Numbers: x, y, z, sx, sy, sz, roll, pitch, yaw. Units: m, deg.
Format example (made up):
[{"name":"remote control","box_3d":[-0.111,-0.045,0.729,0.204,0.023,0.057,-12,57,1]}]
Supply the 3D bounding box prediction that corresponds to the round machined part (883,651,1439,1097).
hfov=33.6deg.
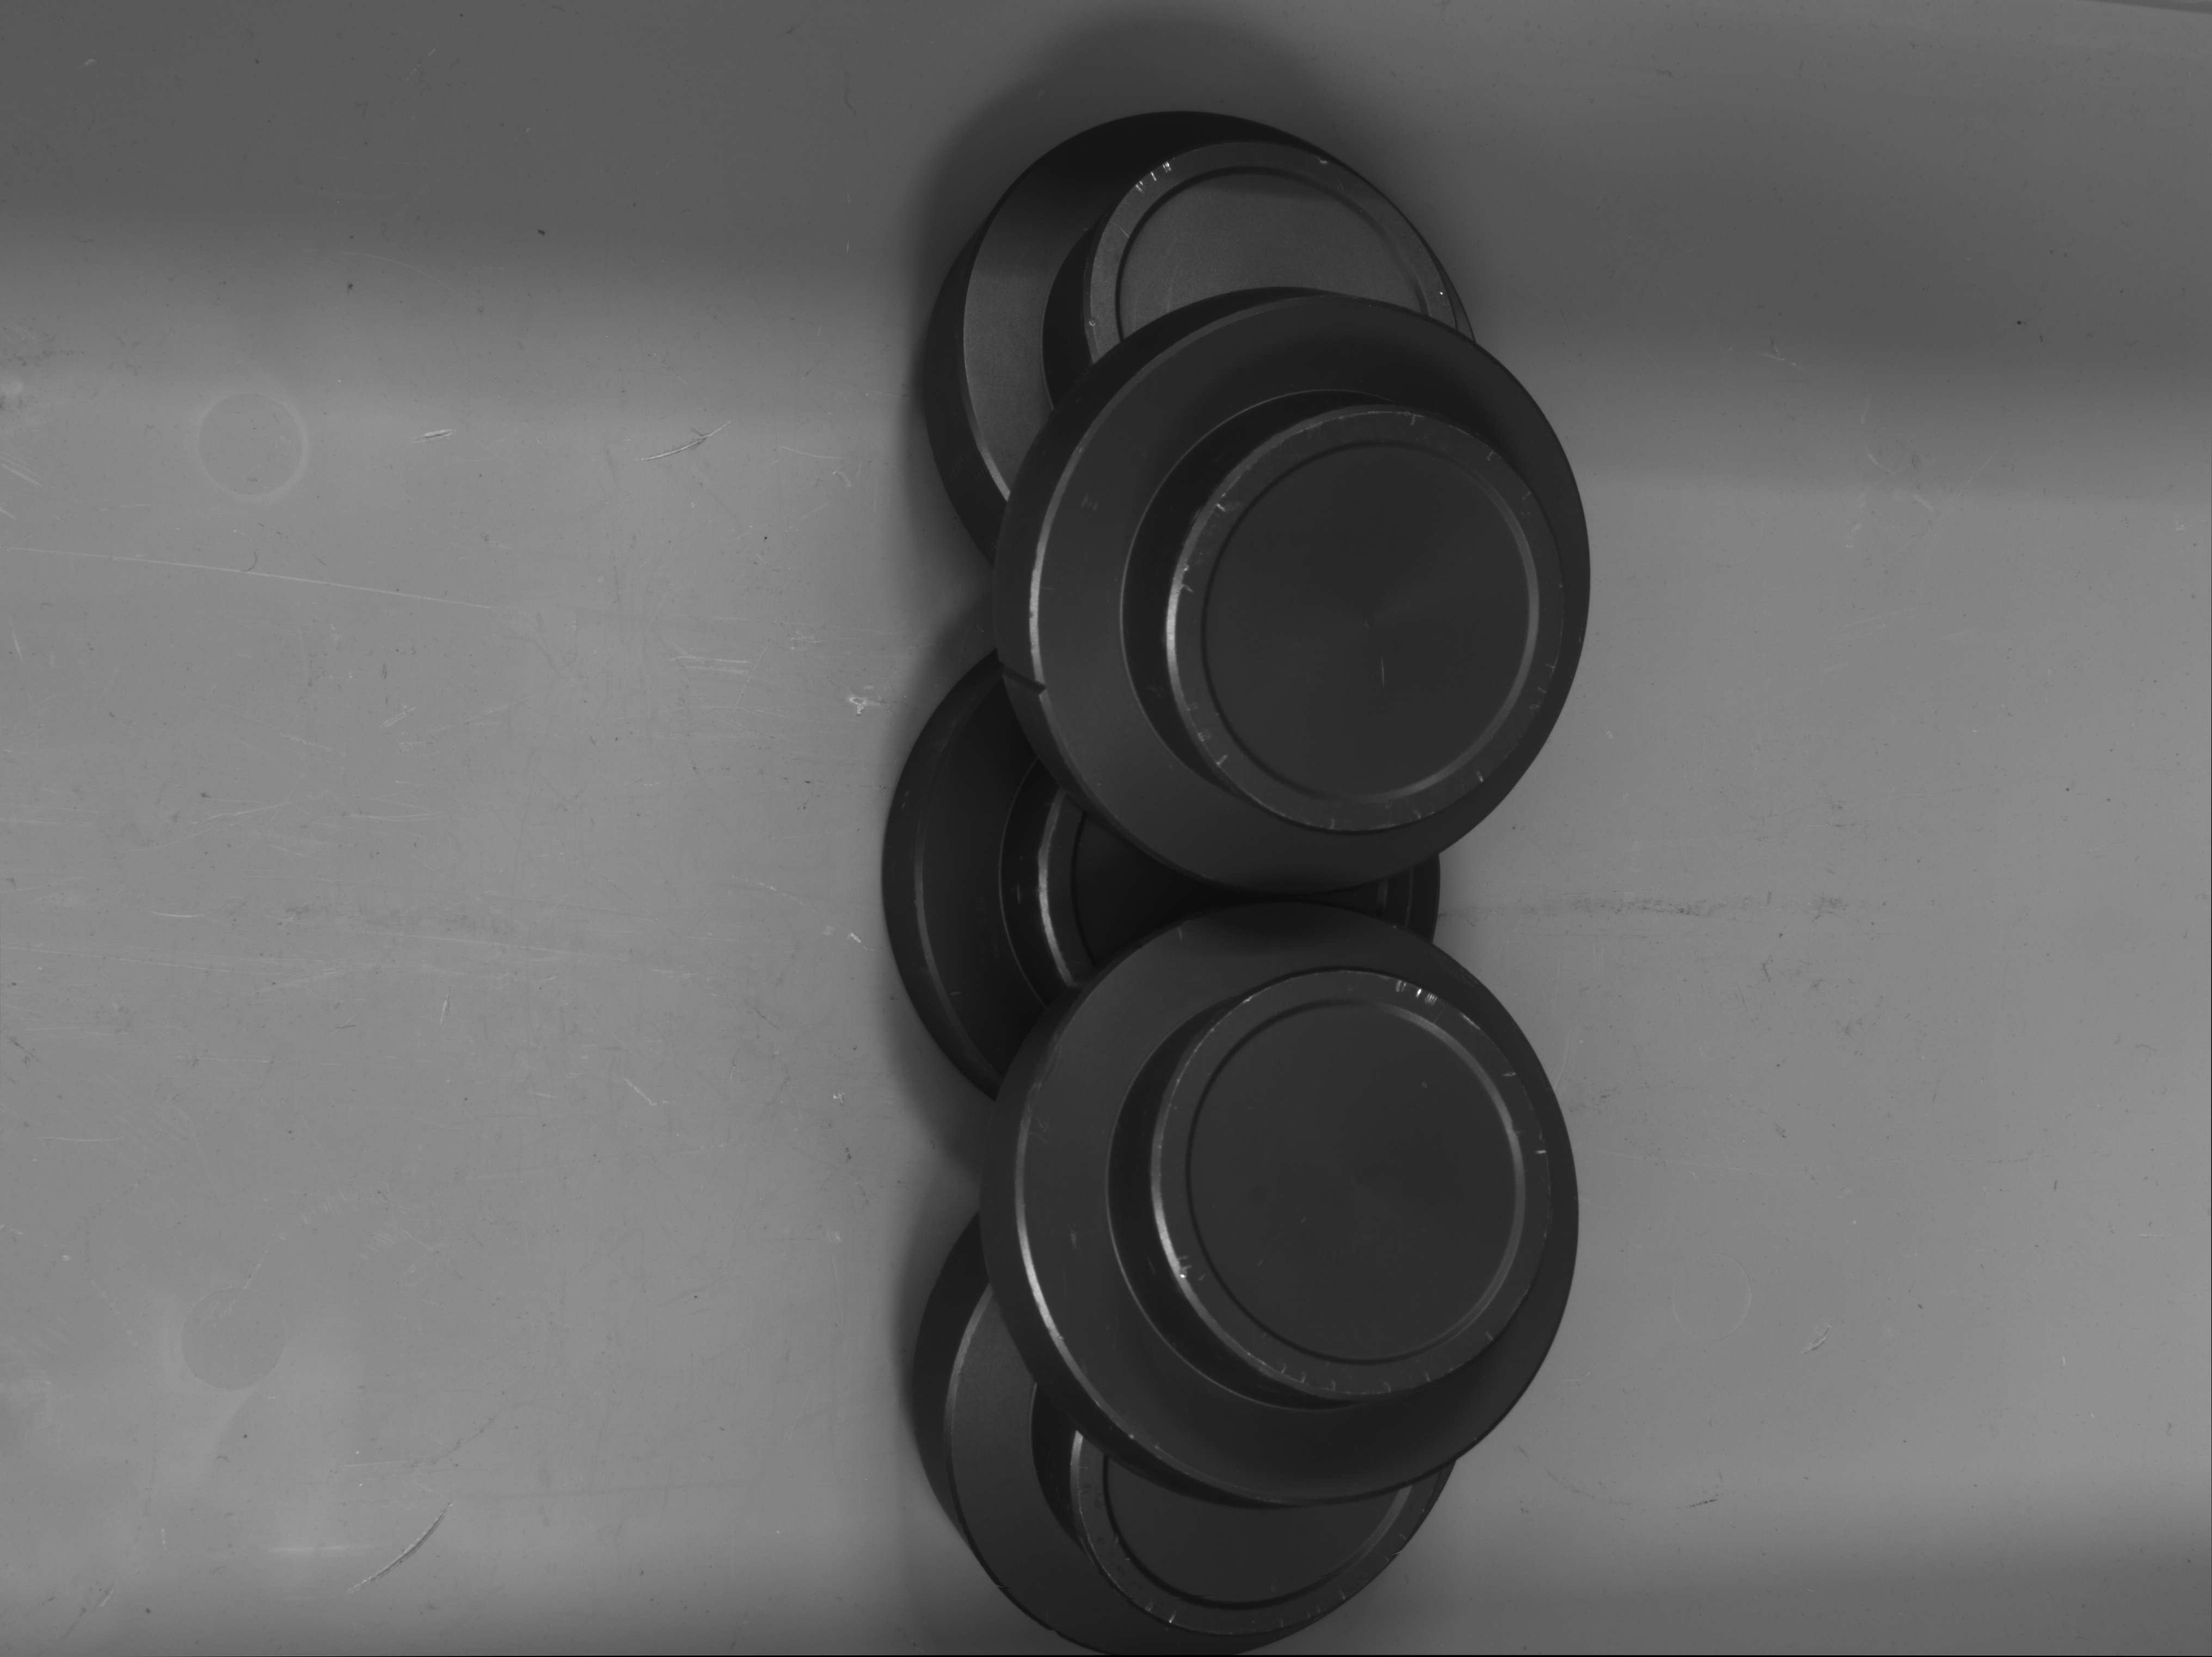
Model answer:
[{"name":"round machined part","box_3d":[0.014,0.008,0.638,0.098,0.042,0.098,0,89,-20]}]

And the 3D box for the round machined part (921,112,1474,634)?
[{"name":"round machined part","box_3d":[0.021,-0.079,0.629,0.098,0.042,0.098,6,72,-18]}]

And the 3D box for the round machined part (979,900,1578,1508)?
[{"name":"round machined part","box_3d":[0.032,0.060,0.590,0.098,0.042,0.098,4,77,-19]}]

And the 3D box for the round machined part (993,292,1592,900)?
[{"name":"round machined part","box_3d":[0.034,-0.036,0.591,0.098,0.042,0.098,-5,104,-19]}]

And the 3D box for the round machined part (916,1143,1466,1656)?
[{"name":"round machined part","box_3d":[0.020,0.100,0.625,0.098,0.042,0.098,-5,107,-18]}]
